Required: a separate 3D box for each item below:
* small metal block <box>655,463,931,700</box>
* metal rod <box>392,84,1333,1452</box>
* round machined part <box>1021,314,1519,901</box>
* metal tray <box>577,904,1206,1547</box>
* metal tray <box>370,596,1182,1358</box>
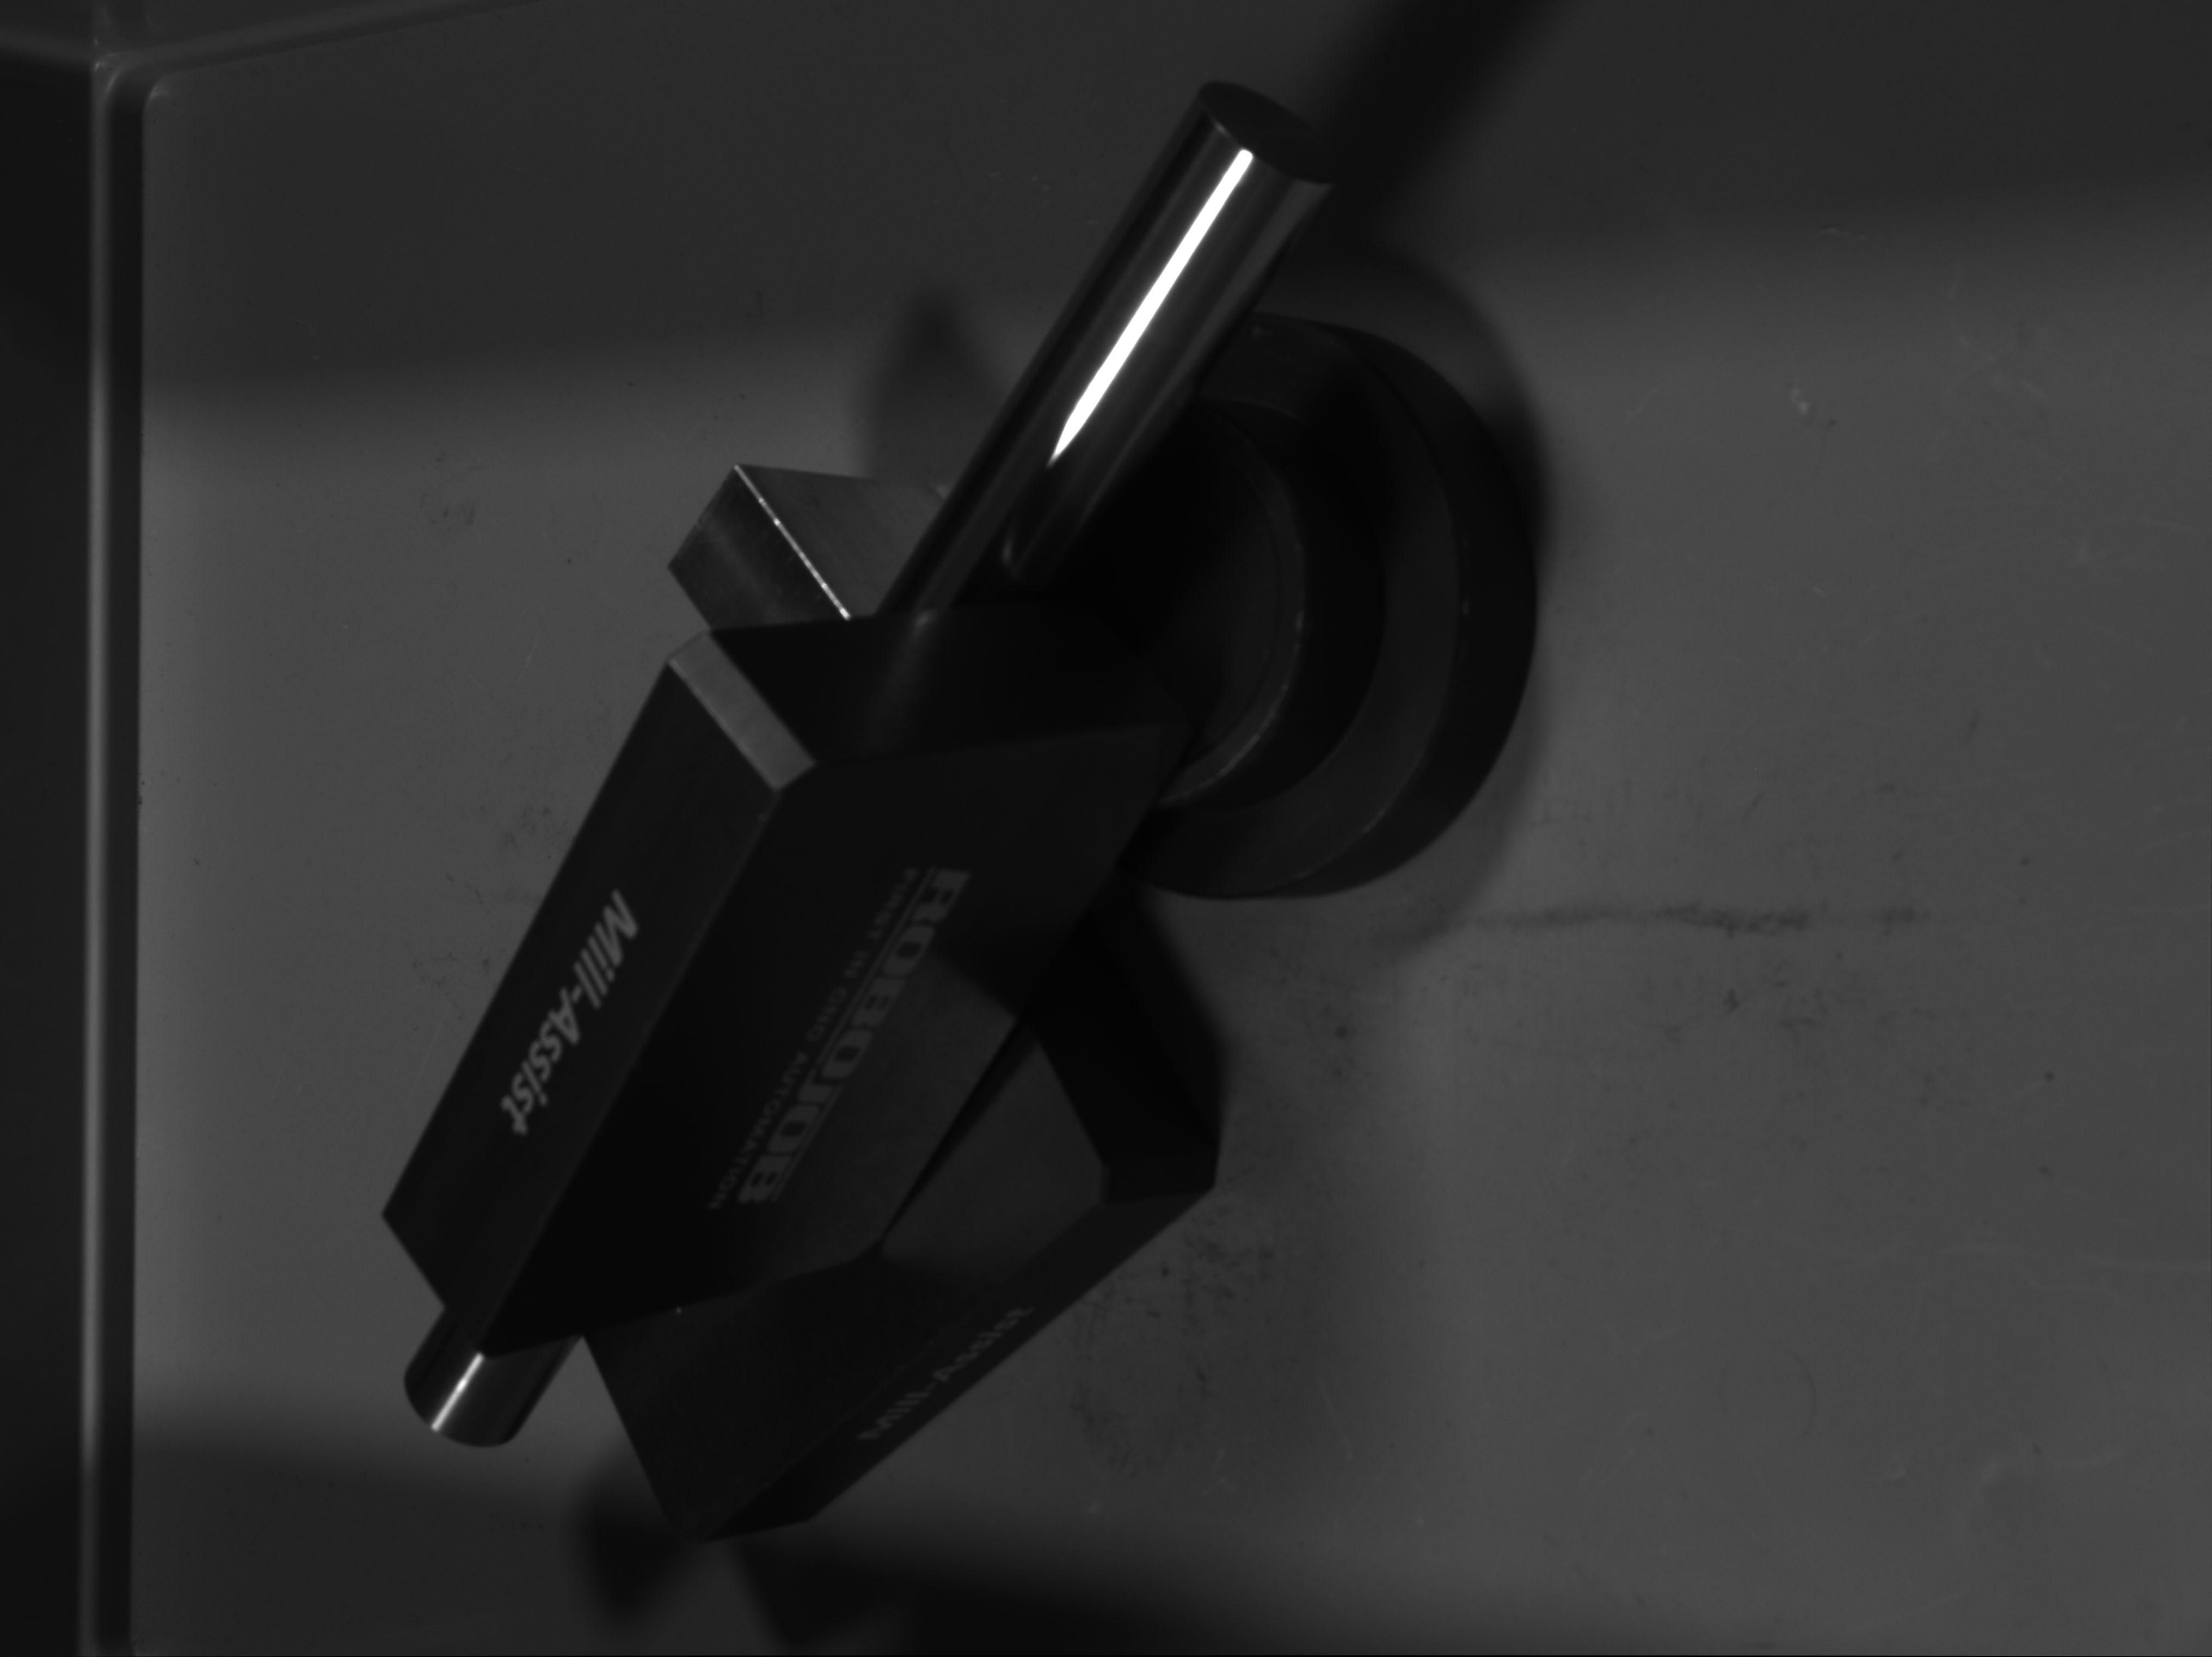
[{"bbox_3d":[-0.044,-0.037,0.655,0.025,0.050,0.050,-52,60,27],"label":"small metal block"},{"bbox_3d":[-0.051,0.002,0.626,0.025,0.025,0.300,52,124,27],"label":"metal rod"},{"bbox_3d":[0.017,-0.037,0.610,0.098,0.042,0.098,0,90,39],"label":"round machined part"},{"bbox_3d":[-0.050,0.061,0.673,0.130,0.030,0.090,-42,65,31],"label":"metal tray"},{"bbox_3d":[-0.053,0.024,0.587,0.030,0.090,0.130,49,125,26],"label":"metal tray"}]
